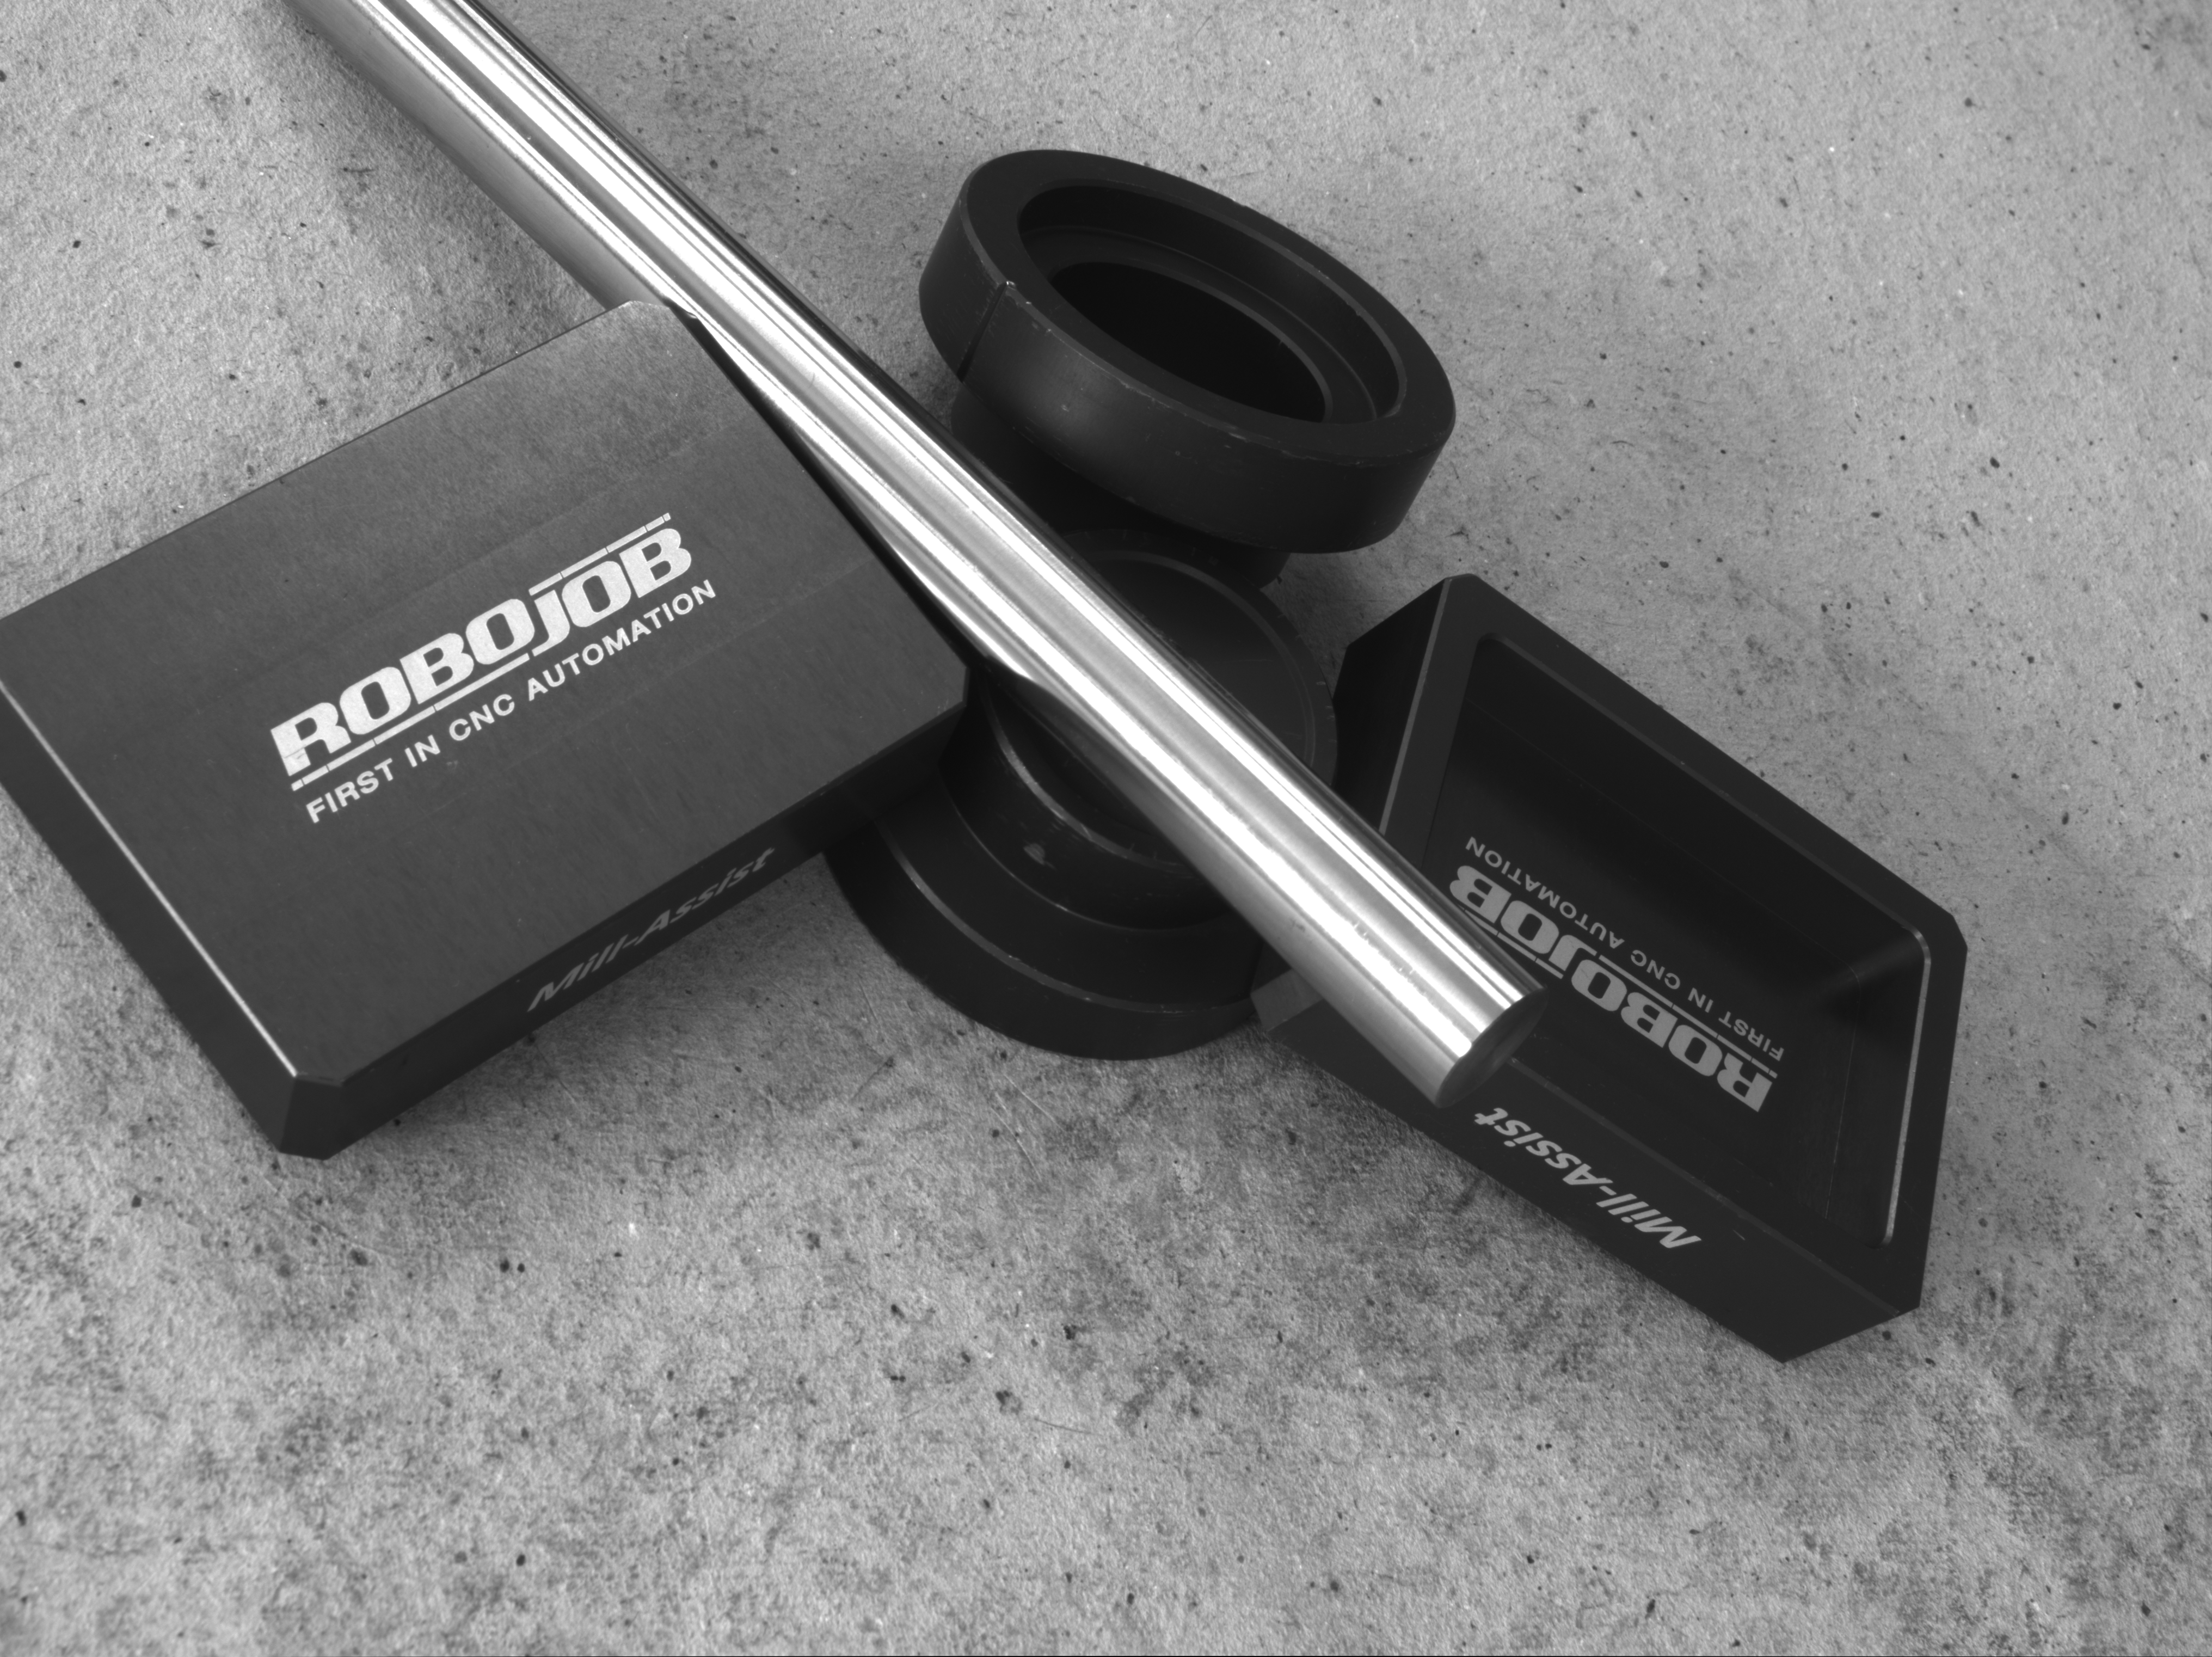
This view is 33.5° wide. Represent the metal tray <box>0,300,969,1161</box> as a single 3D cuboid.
[{"bbox_3d":[-0.099,-0.019,0.581,0.130,0.030,0.090,-33,77,-29],"label":"metal tray"}]

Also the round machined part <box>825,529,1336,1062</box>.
[{"bbox_3d":[0.001,-0.012,0.637,0.098,0.042,0.098,13,56,-21],"label":"round machined part"}]

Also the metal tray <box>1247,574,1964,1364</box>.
[{"bbox_3d":[0.093,0.025,0.656,0.130,0.030,0.090,33,51,-20],"label":"metal tray"}]

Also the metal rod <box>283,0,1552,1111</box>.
[{"bbox_3d":[-0.042,-0.064,0.614,0.025,0.025,0.299,-31,65,-38],"label":"metal rod"}]

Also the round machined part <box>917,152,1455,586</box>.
[{"bbox_3d":[0.011,-0.079,0.669,0.098,0.042,0.098,20,32,-13],"label":"round machined part"}]
